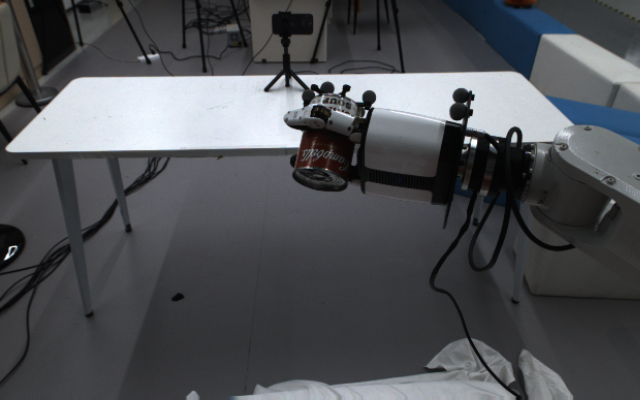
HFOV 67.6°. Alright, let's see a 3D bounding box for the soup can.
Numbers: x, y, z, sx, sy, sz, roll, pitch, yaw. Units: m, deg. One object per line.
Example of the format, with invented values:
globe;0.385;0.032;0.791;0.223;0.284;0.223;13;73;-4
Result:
soup can;0.011;-0.069;0.588;0.067;0.067;0.101;9;71;9
